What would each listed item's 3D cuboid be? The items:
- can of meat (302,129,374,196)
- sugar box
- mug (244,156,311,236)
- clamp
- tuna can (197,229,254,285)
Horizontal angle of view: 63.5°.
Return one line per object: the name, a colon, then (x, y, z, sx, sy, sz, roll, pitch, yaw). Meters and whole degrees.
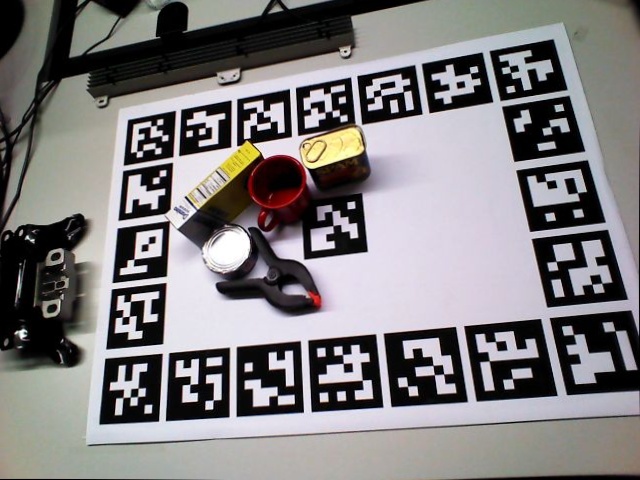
can of meat: (0.031, -0.118, 0.809, 0.102, 0.084, 0.057, -15, 67, 6)
sugar box: (-0.156, -0.061, 0.827, 0.176, 0.093, 0.045, -42, 66, -6)
mug: (-0.065, -0.061, 0.802, 0.093, 0.081, 0.116, 17, 77, 17)
clamp: (-0.068, 0.071, 0.790, 0.165, 0.036, 0.121, 28, 75, 16)
tuna can: (-0.149, 0.028, 0.819, 0.086, 0.034, 0.085, -4, 72, 12)
